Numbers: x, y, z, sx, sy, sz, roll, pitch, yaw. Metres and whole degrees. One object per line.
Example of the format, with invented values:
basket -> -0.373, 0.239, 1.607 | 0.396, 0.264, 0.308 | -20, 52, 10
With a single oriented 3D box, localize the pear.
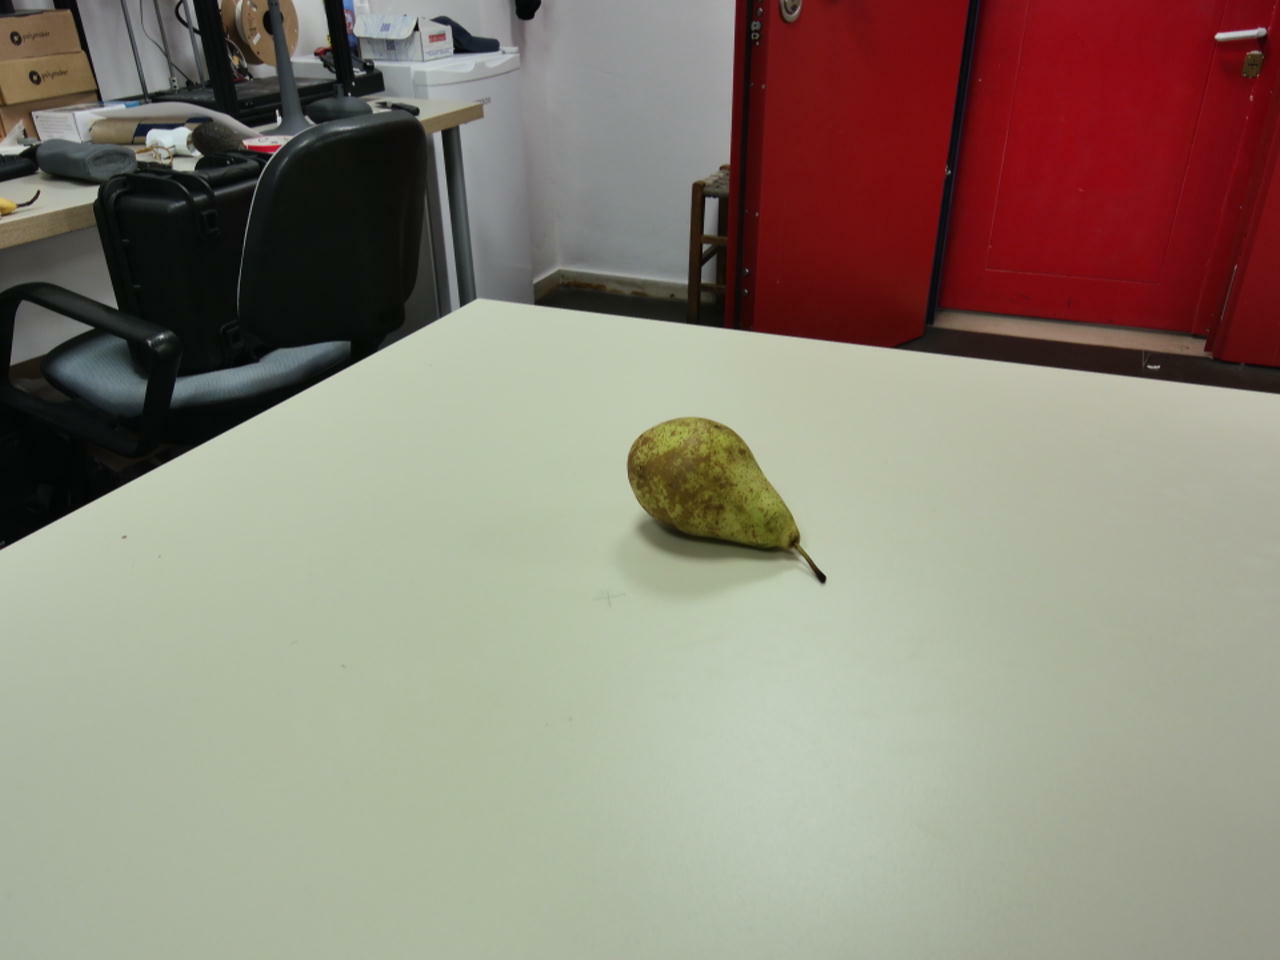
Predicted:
pear -> 0.054, 0.002, 0.599 | 0.128, 0.075, 0.071 | 8, 26, 14
